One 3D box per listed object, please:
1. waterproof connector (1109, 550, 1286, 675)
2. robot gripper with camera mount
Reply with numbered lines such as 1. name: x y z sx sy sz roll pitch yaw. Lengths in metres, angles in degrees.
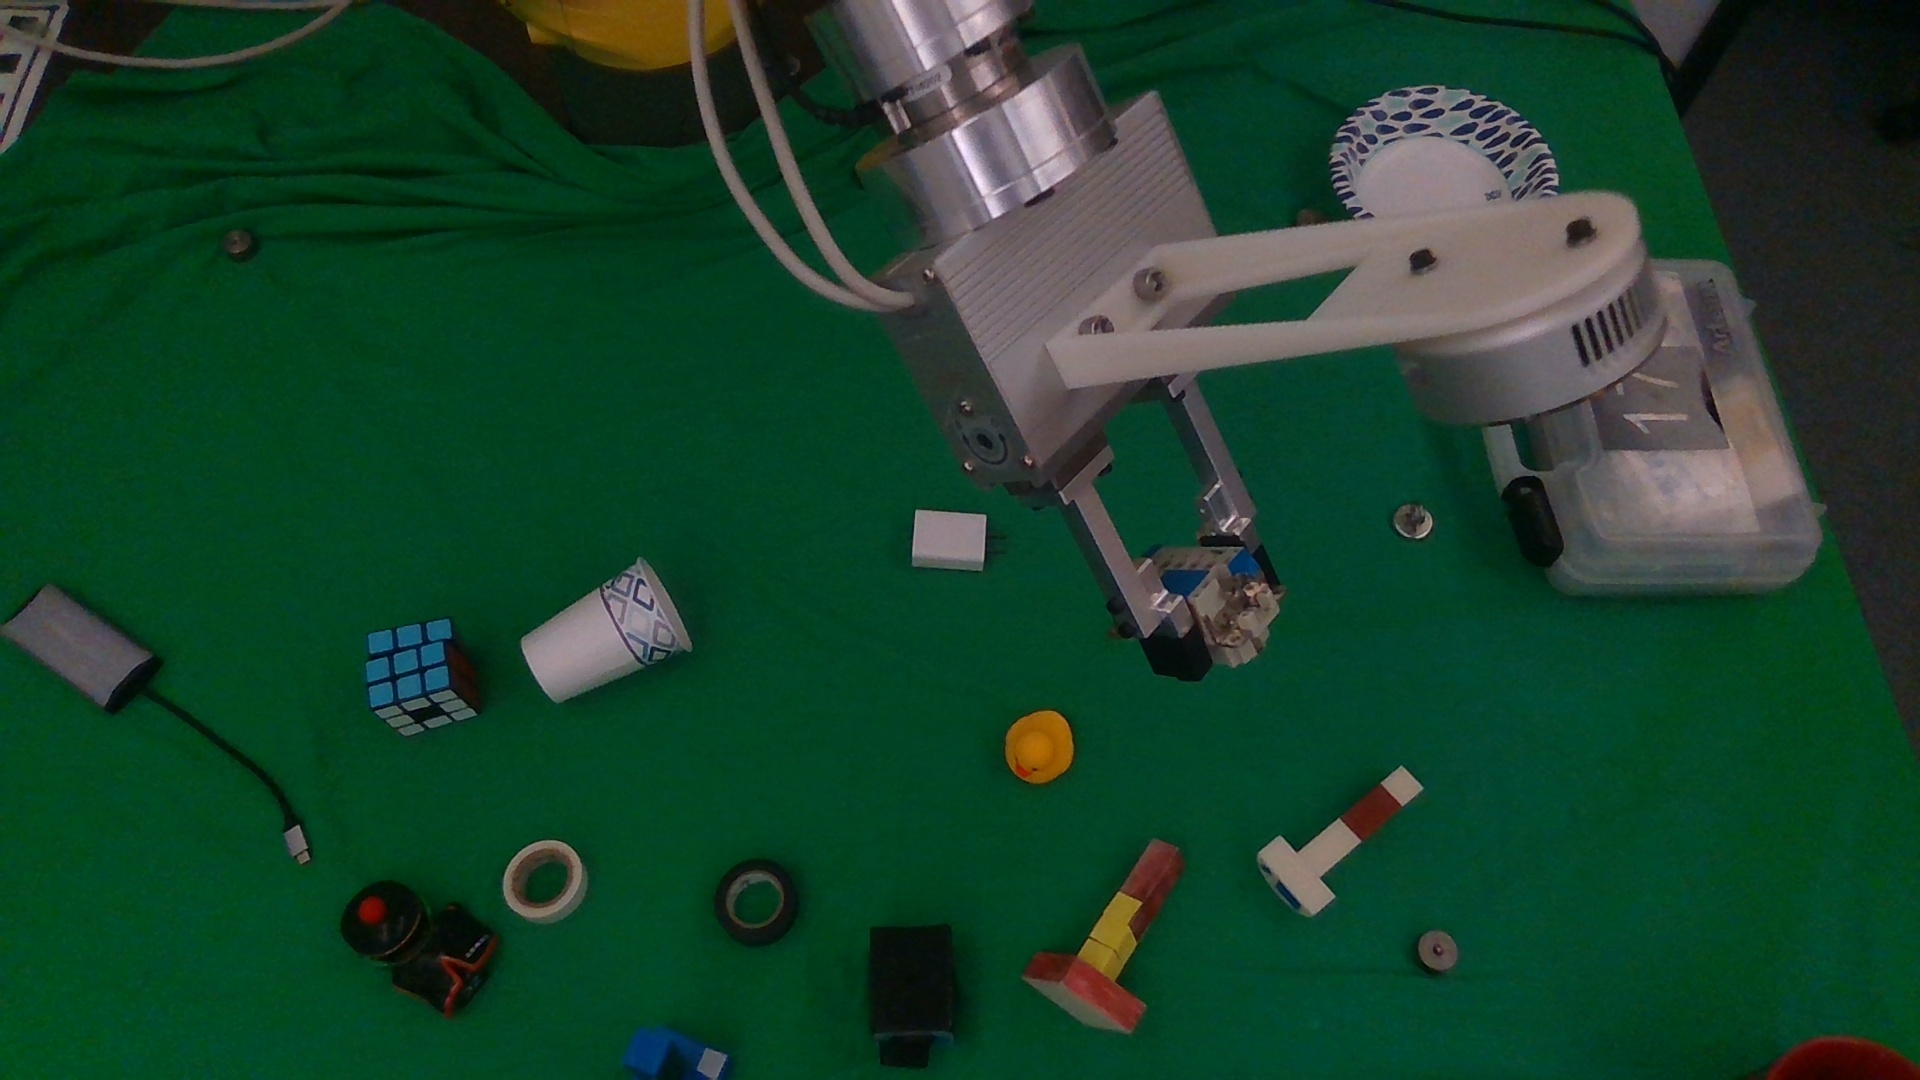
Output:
1. waterproof connector: 0.085 0.027 0.507 0.035 0.065 0.037 -45 116 -32
2. robot gripper with camera mount: 0.116 -0.037 0.423 0.194 0.158 0.118 -4 29 45
